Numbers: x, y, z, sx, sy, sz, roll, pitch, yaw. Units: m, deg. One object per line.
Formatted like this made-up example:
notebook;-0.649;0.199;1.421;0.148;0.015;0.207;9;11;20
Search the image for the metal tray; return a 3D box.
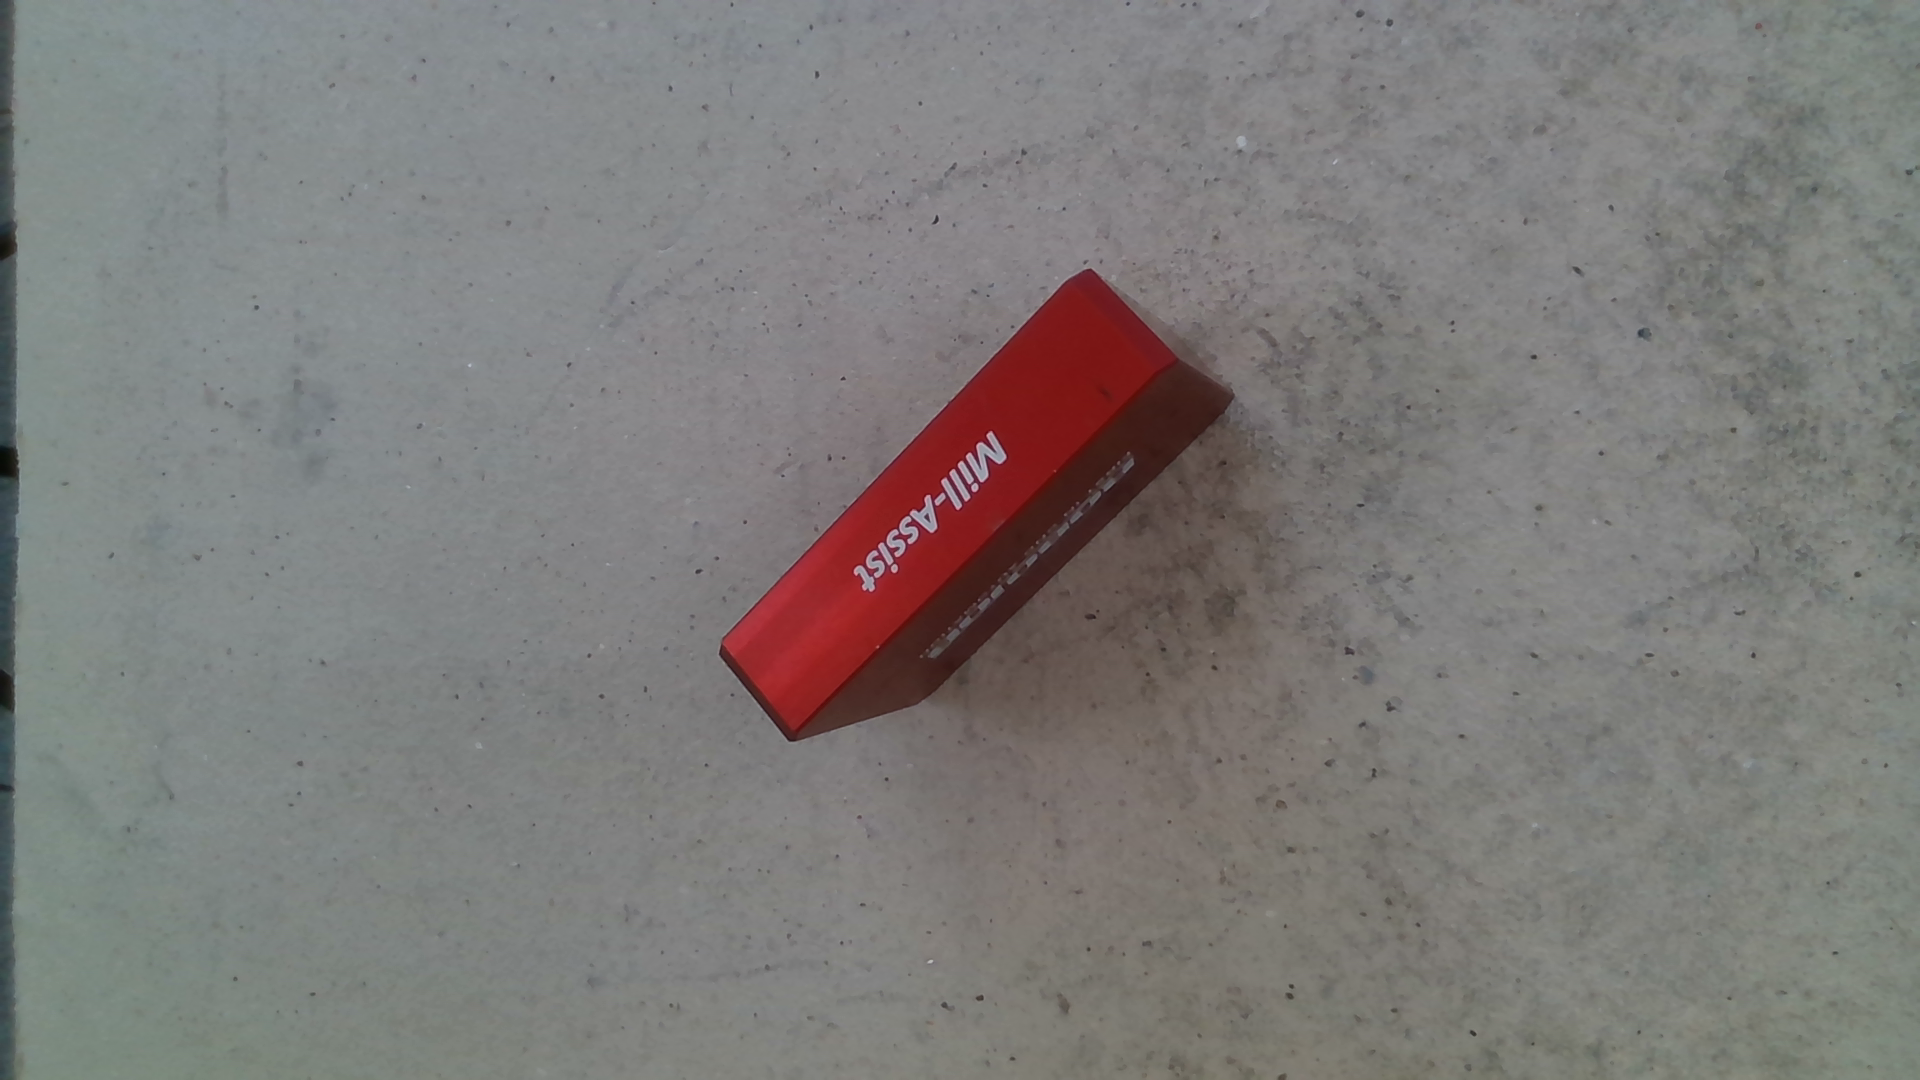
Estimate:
metal tray;0.007;-0.006;0.356;0.130;0.090;0.030;-45;76;15
